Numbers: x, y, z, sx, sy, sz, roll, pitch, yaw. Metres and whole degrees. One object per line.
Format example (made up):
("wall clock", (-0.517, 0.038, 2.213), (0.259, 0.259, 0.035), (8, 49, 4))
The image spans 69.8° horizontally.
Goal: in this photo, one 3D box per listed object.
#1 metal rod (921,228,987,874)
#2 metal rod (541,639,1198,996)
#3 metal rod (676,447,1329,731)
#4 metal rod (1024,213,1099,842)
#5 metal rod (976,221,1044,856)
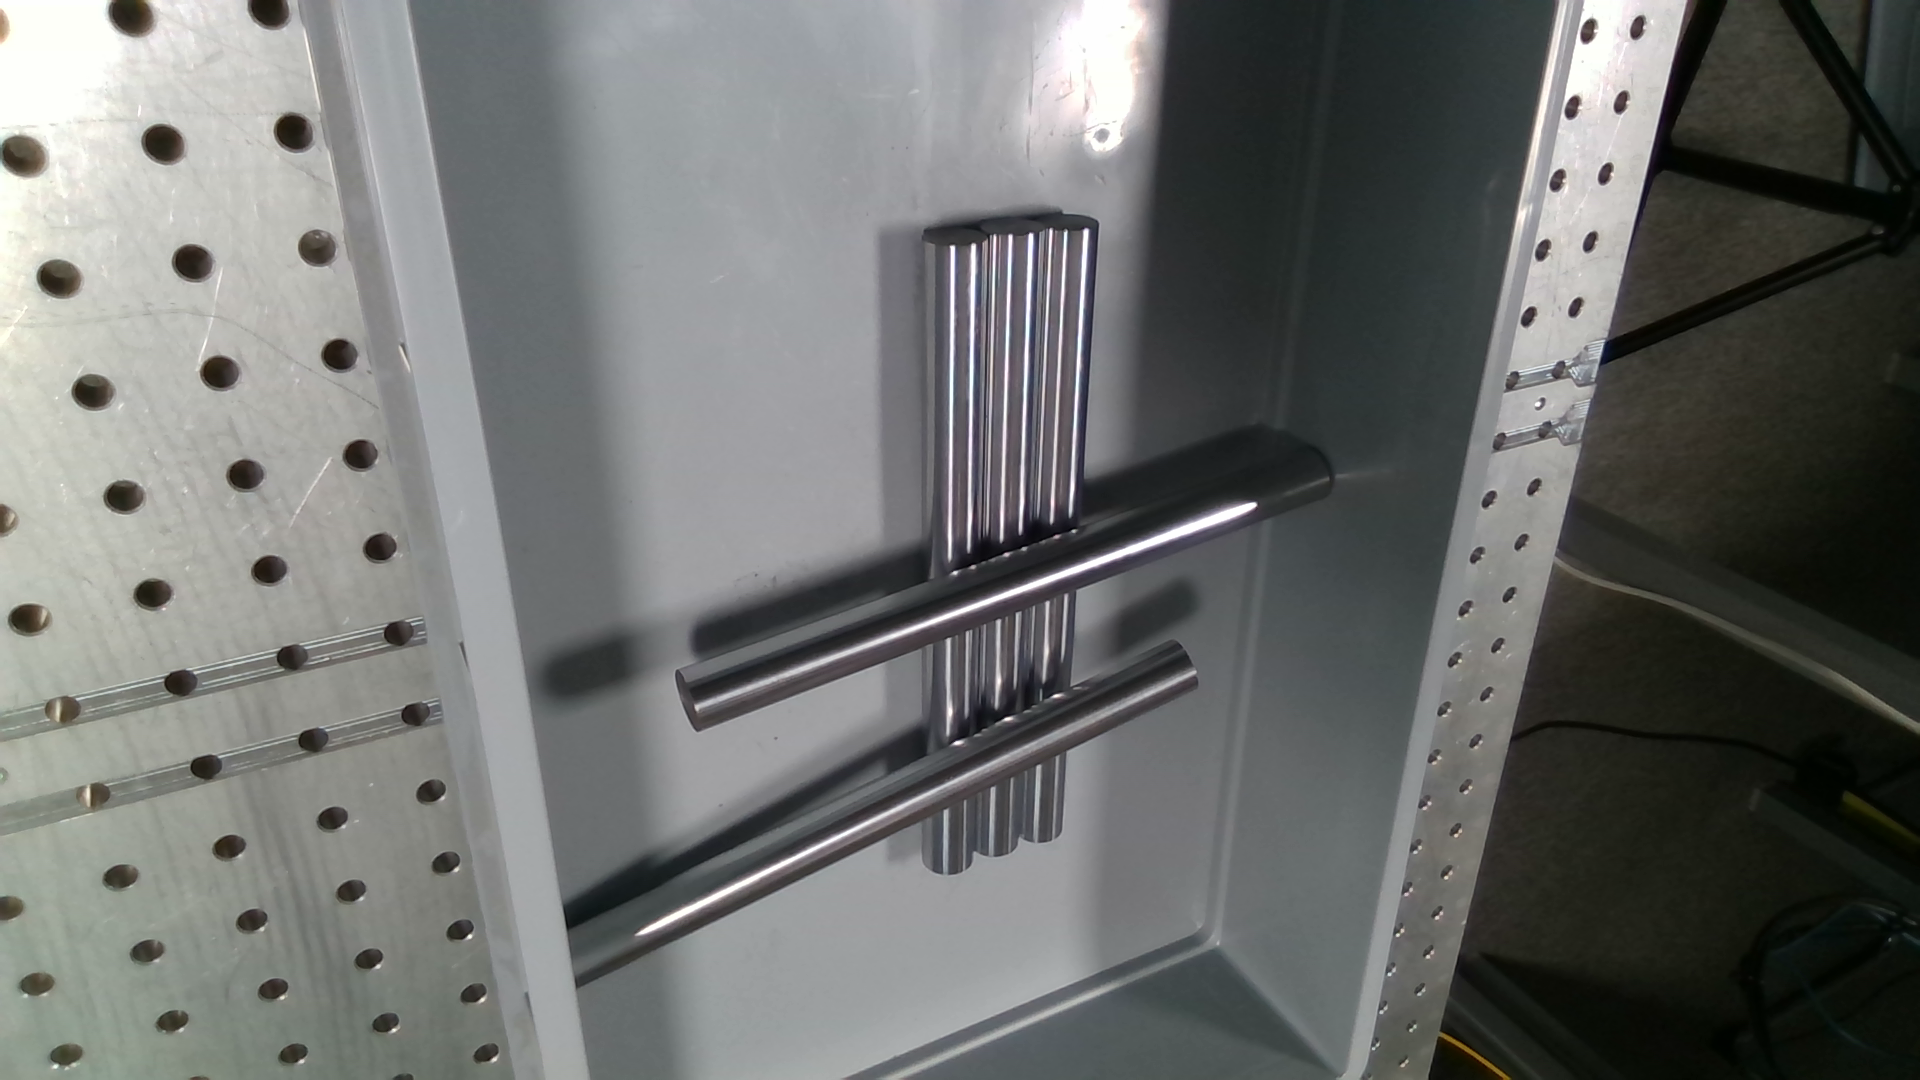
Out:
("metal rod", (-0.004, 0.018, 0.587), (0.025, 0.025, 0.301), (-14, 121, -25))
("metal rod", (-0.033, 0.117, 0.596), (0.300, 0.025, 0.025), (-24, 125, -10))
("metal rod", (0.029, 0.015, 0.573), (0.300, 0.025, 0.025), (-19, 123, -22))
("metal rod", (0.040, 0.008, 0.608), (0.025, 0.025, 0.301), (-14, 121, -25))
("metal rod", (0.018, 0.012, 0.597), (0.025, 0.025, 0.301), (-14, 121, -25))
